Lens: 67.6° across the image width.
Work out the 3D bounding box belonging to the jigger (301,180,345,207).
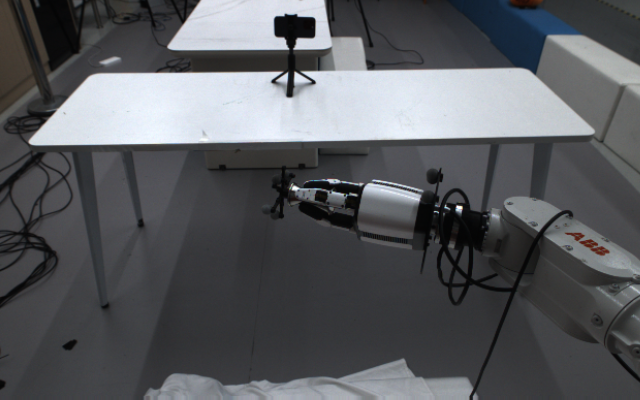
[{"bbox_3d":[-0.006,-0.008,0.758,0.071,0.043,0.043,10,35,16],"label":"jigger"}]
